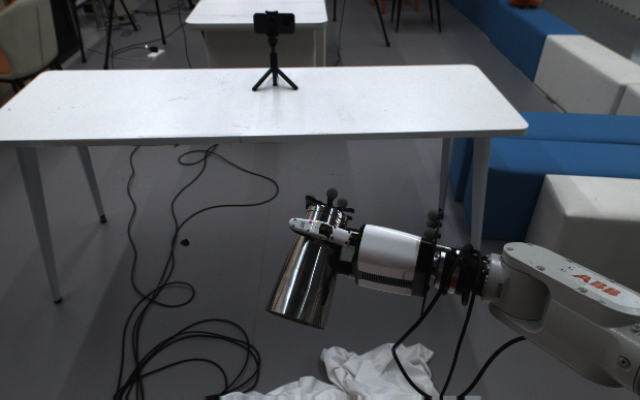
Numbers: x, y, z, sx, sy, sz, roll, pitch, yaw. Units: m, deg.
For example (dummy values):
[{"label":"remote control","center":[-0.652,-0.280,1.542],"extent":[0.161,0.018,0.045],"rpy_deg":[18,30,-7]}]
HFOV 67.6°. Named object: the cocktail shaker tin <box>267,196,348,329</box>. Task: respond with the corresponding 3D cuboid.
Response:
[{"label":"cocktail shaker tin","center":[-0.011,0.094,0.727],"extent":[0.093,0.093,0.170],"rpy_deg":[13,71,15]}]
